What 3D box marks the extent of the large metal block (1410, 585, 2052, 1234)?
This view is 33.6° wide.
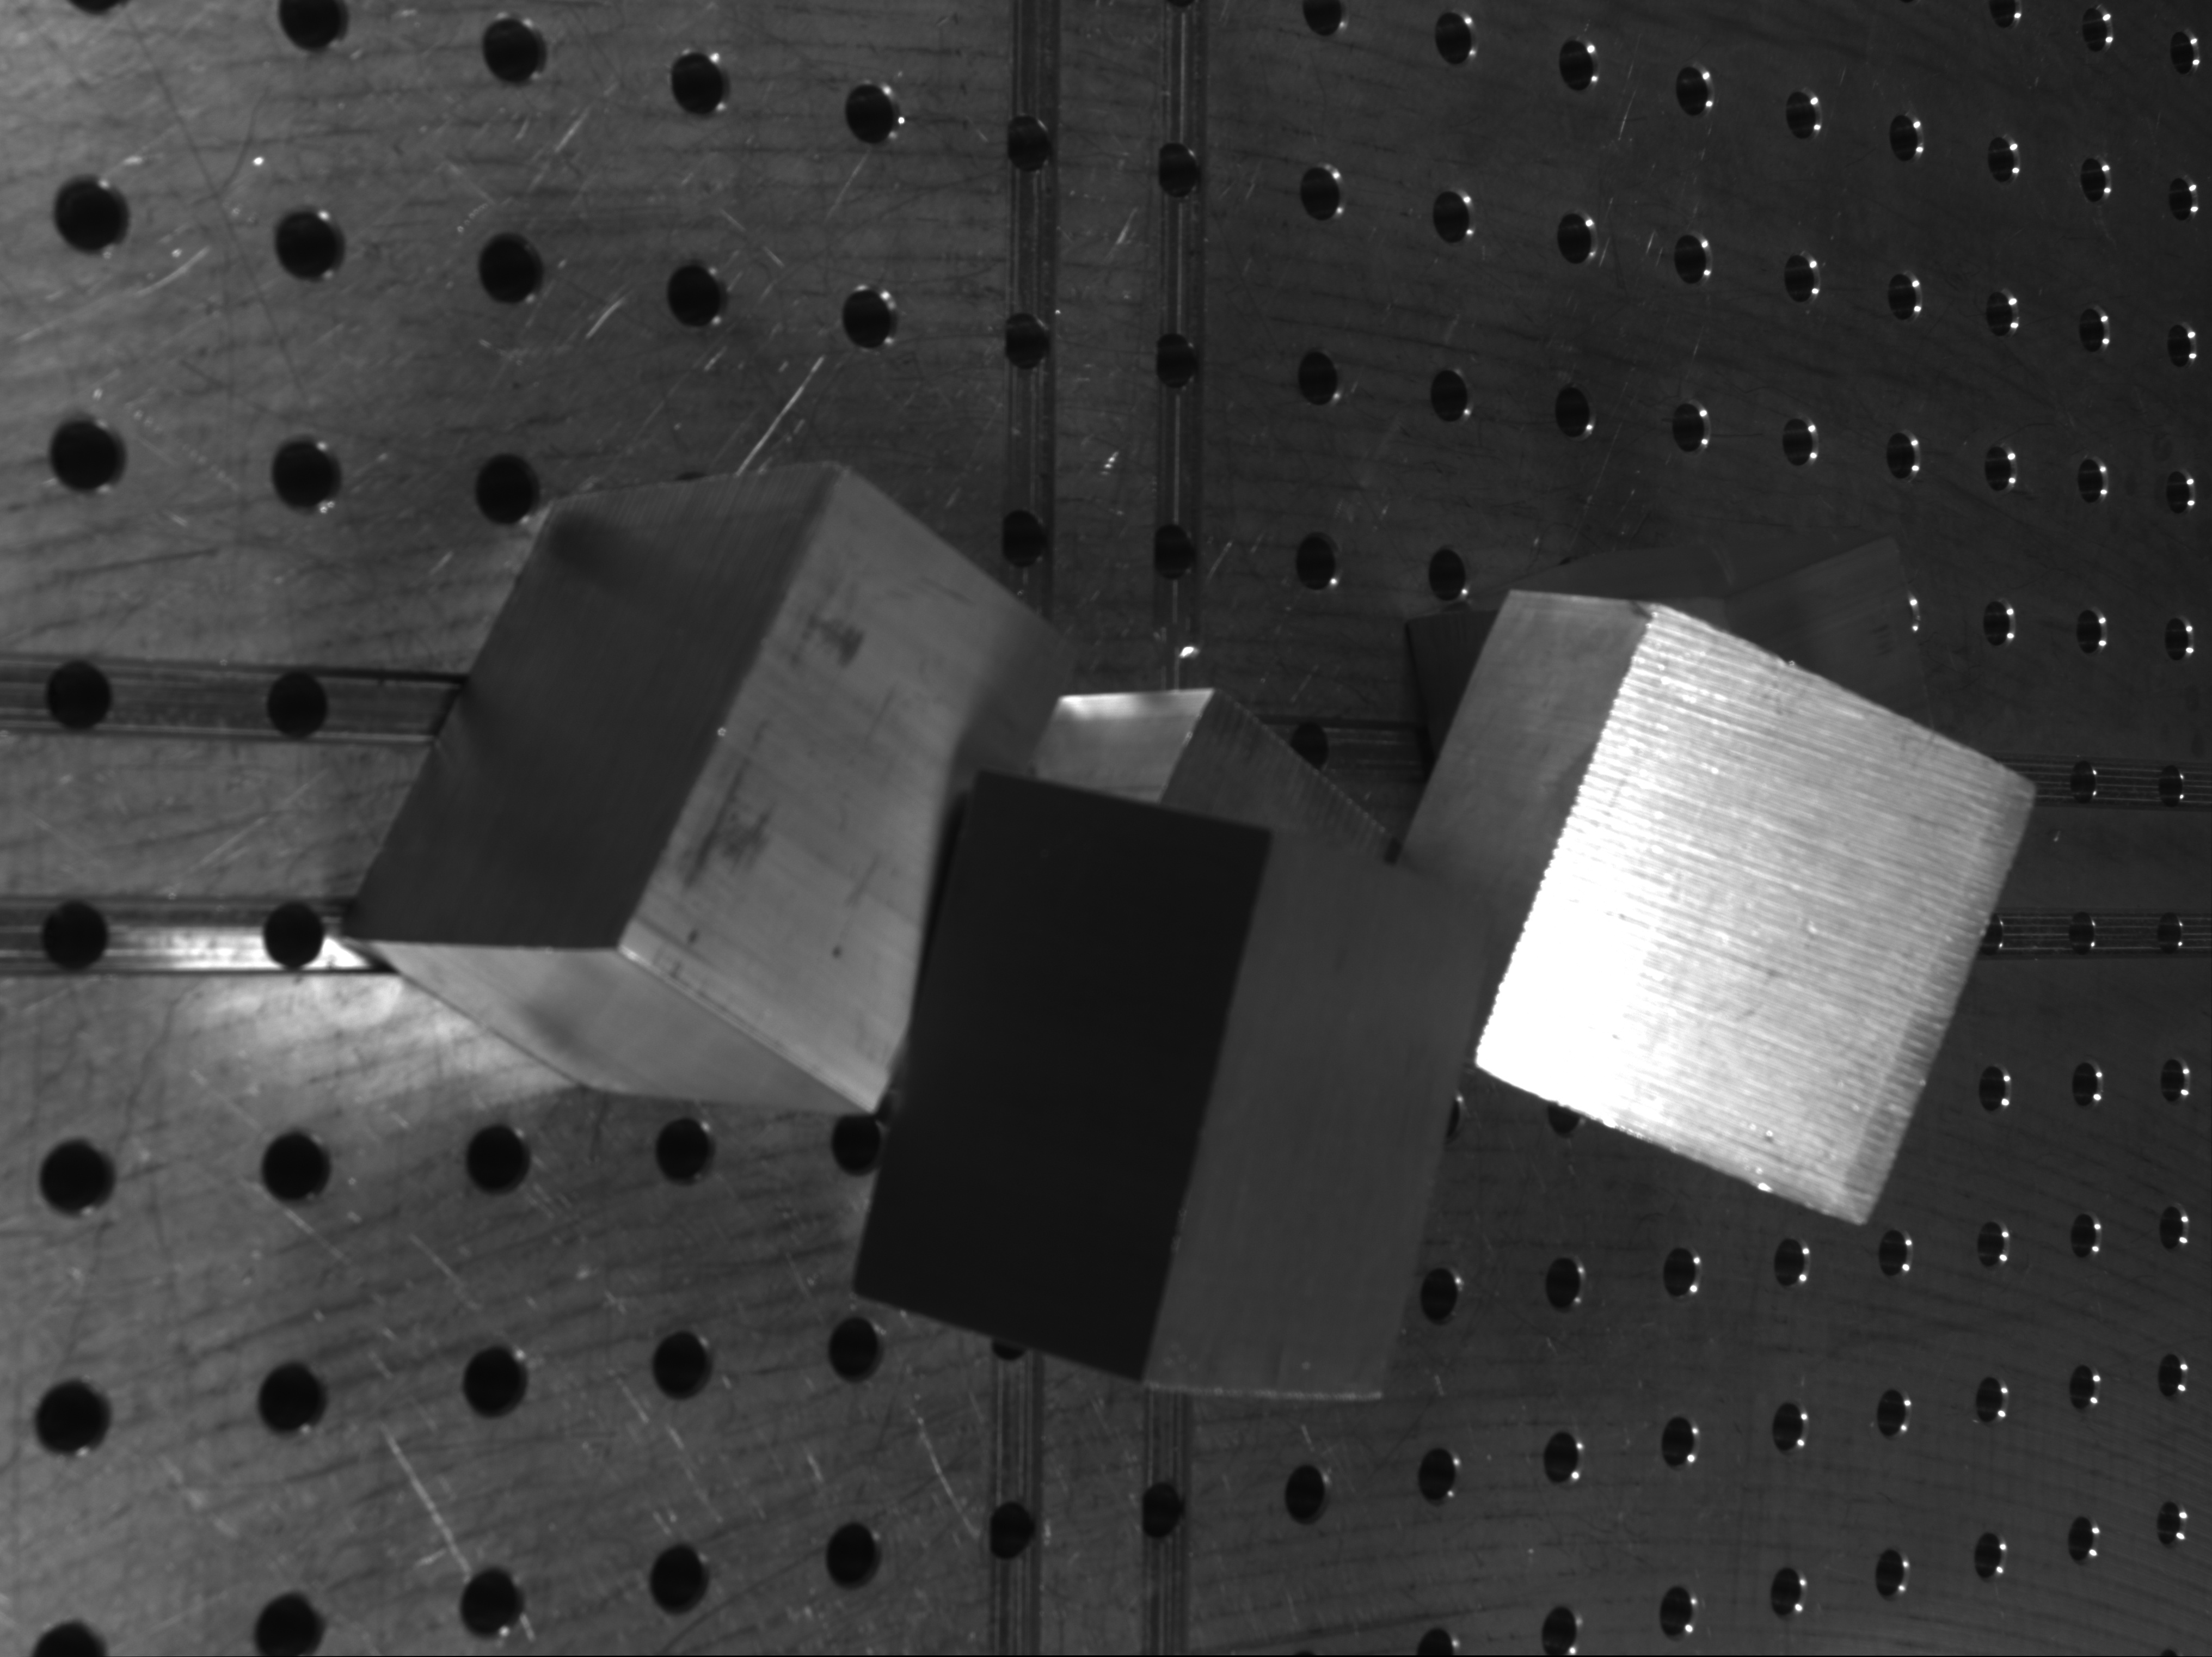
[{"bbox_3d":[0.099,0.013,0.616,0.080,0.050,0.080,23,88,-22],"label":"large metal block"}]

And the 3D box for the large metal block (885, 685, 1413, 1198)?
[{"bbox_3d":[0.014,0.031,0.635,0.080,0.050,0.080,39,66,-33],"label":"large metal block"}]

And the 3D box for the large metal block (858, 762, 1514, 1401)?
[{"bbox_3d":[0.014,0.040,0.551,0.080,0.050,0.080,18,85,-59],"label":"large metal block"}]

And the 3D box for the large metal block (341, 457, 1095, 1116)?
[{"bbox_3d":[-0.059,-0.006,0.555,0.050,0.080,0.080,37,67,-34],"label":"large metal block"}]

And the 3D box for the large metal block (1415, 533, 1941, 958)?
[{"bbox_3d":[0.112,-0.009,0.698,0.050,0.080,0.080,-21,103,-38],"label":"large metal block"}]
